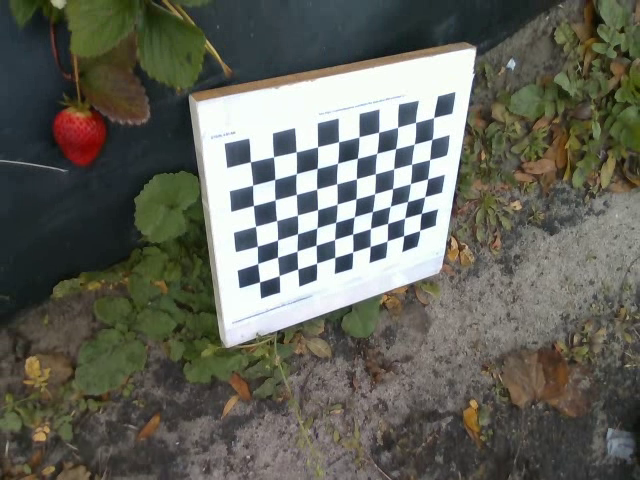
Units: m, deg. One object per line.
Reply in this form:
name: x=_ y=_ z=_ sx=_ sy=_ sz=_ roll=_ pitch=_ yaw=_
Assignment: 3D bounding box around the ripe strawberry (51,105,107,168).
ripe strawberry: x=-0.125 y=-0.050 z=0.326 sx=0.028 sy=0.033 sz=0.023 roll=0 pitch=28 yaw=-27
